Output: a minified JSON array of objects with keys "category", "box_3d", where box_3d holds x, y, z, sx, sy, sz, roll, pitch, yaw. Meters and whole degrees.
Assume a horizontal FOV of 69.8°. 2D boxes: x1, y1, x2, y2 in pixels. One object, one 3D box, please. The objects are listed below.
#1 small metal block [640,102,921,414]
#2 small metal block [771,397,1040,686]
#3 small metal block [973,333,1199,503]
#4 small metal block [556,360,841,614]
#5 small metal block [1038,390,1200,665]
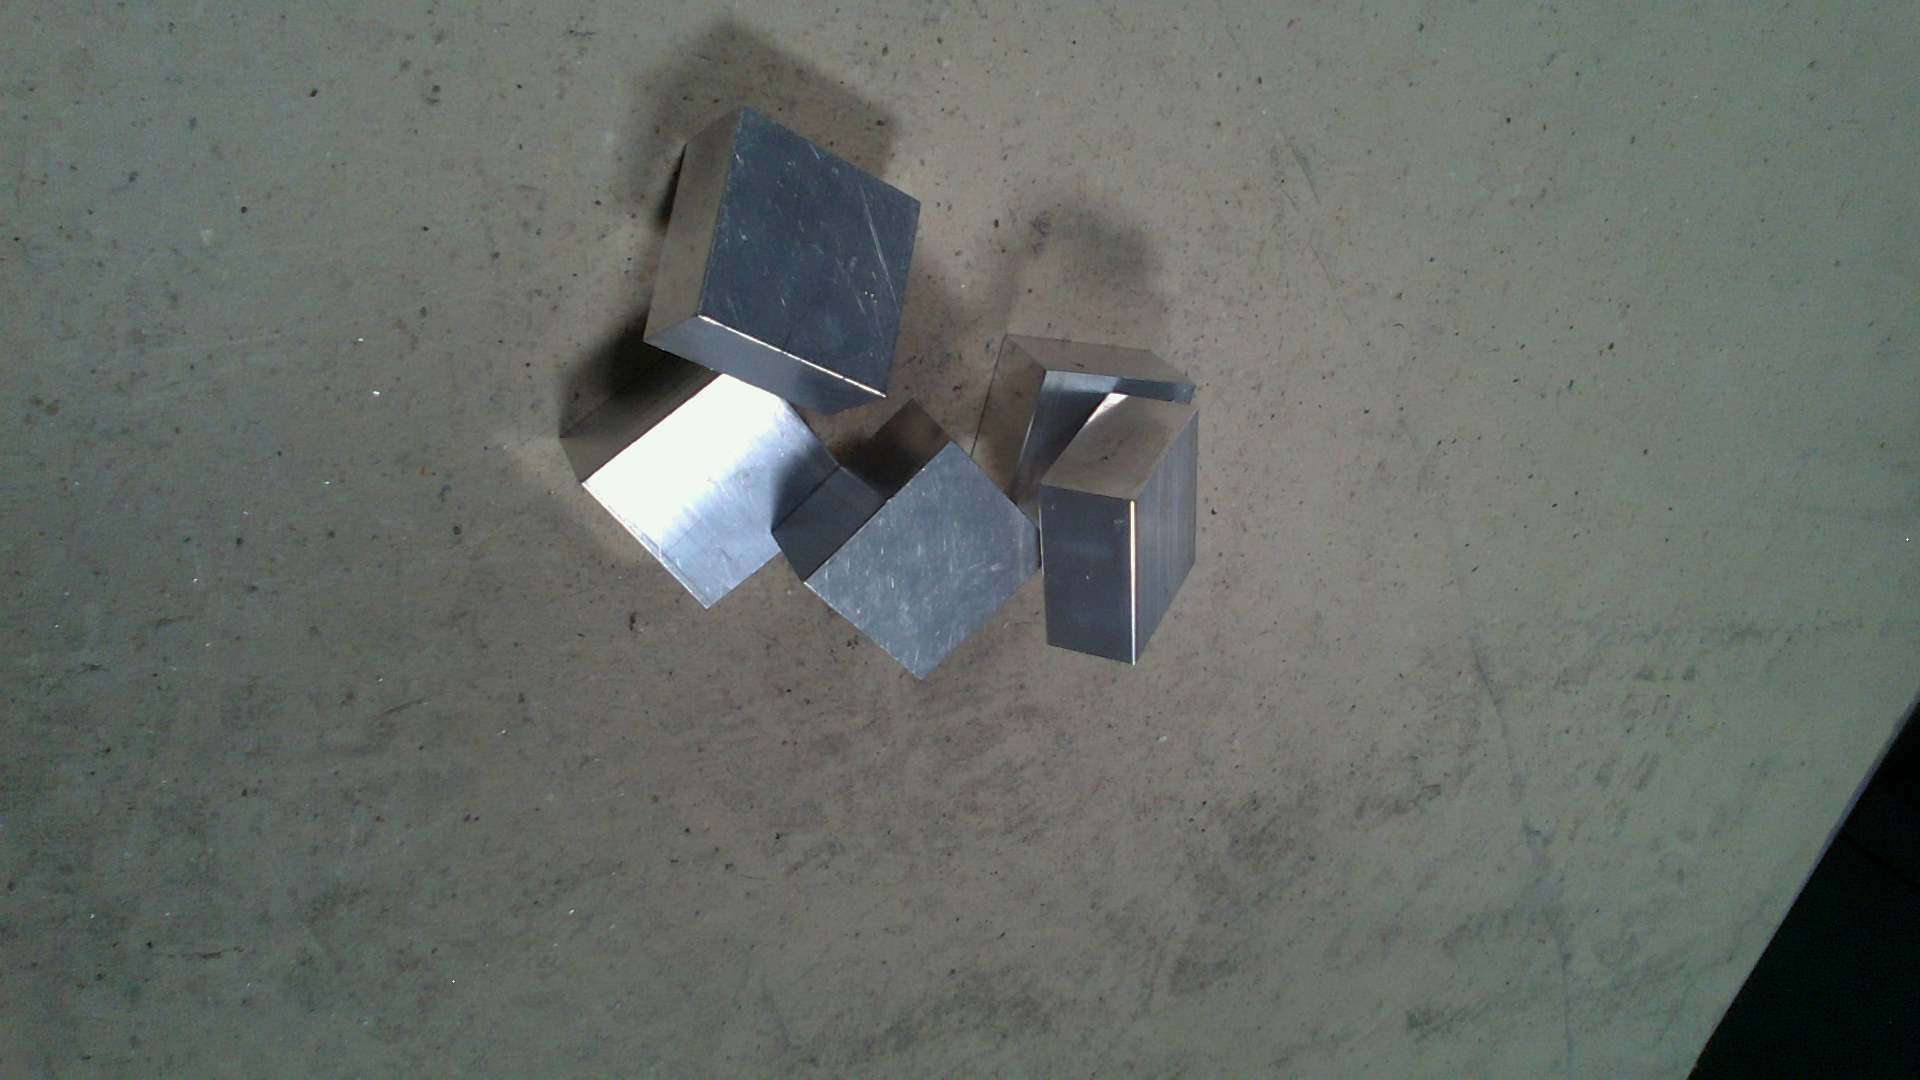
[{"category":"small metal block","box_3d":[-0.040,-0.062,0.315,0.050,0.025,0.050,20,71,-36]},{"category":"small metal block","box_3d":[-0.010,0.001,0.351,0.050,0.025,0.050,-44,129,2]},{"category":"small metal block","box_3d":[0.033,-0.028,0.390,0.050,0.025,0.050,2,118,-29]},{"category":"small metal block","box_3d":[-0.062,-0.018,0.344,0.050,0.025,0.050,-38,129,-2]},{"category":"small metal block","box_3d":[0.043,-0.004,0.362,0.050,0.025,0.050,-50,144,-47]}]
